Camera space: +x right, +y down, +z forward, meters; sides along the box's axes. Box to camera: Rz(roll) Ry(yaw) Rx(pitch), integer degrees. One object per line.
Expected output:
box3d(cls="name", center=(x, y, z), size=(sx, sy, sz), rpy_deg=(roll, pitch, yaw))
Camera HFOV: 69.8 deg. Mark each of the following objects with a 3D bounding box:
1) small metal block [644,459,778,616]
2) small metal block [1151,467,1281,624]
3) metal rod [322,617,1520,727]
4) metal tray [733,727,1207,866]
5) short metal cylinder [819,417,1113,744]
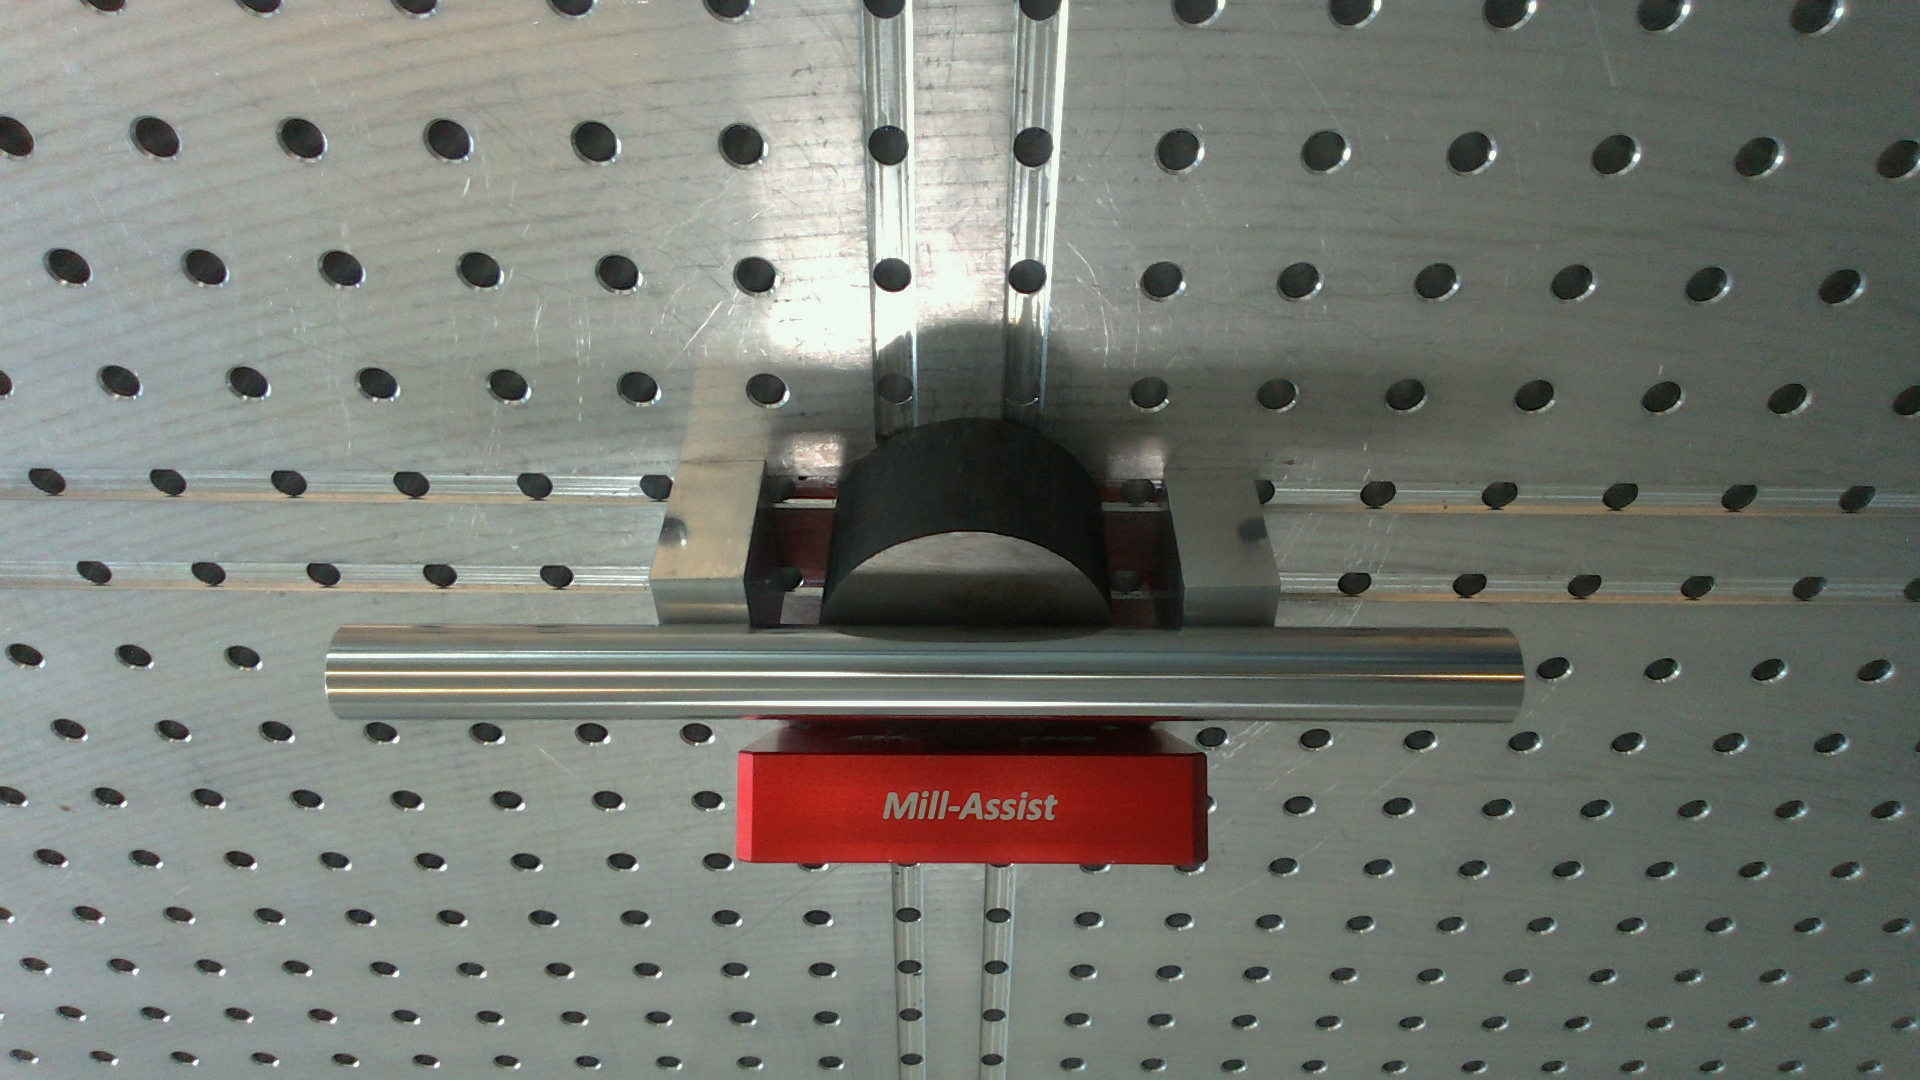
box3d(cls="small metal block", center=(-0.068, 0.012, 0.388), size=(0.025, 0.050, 0.050), rpy_deg=(-1, 130, 1))
box3d(cls="small metal block", center=(0.071, 0.014, 0.390), size=(0.025, 0.050, 0.050), rpy_deg=(-1, 130, 1))
box3d(cls="metal rod", center=(-0.009, 0.034, 0.357), size=(0.300, 0.025, 0.025), rpy_deg=(1, 130, 0))
box3d(cls="metal tray", center=(0.003, 0.076, 0.418), size=(0.130, 0.090, 0.030), rpy_deg=(0, 87, 0))
box3d(cls="short metal cylinder", center=(0.001, 0.013, 0.388), size=(0.080, 0.050, 0.080), rpy_deg=(0, 130, 0))
